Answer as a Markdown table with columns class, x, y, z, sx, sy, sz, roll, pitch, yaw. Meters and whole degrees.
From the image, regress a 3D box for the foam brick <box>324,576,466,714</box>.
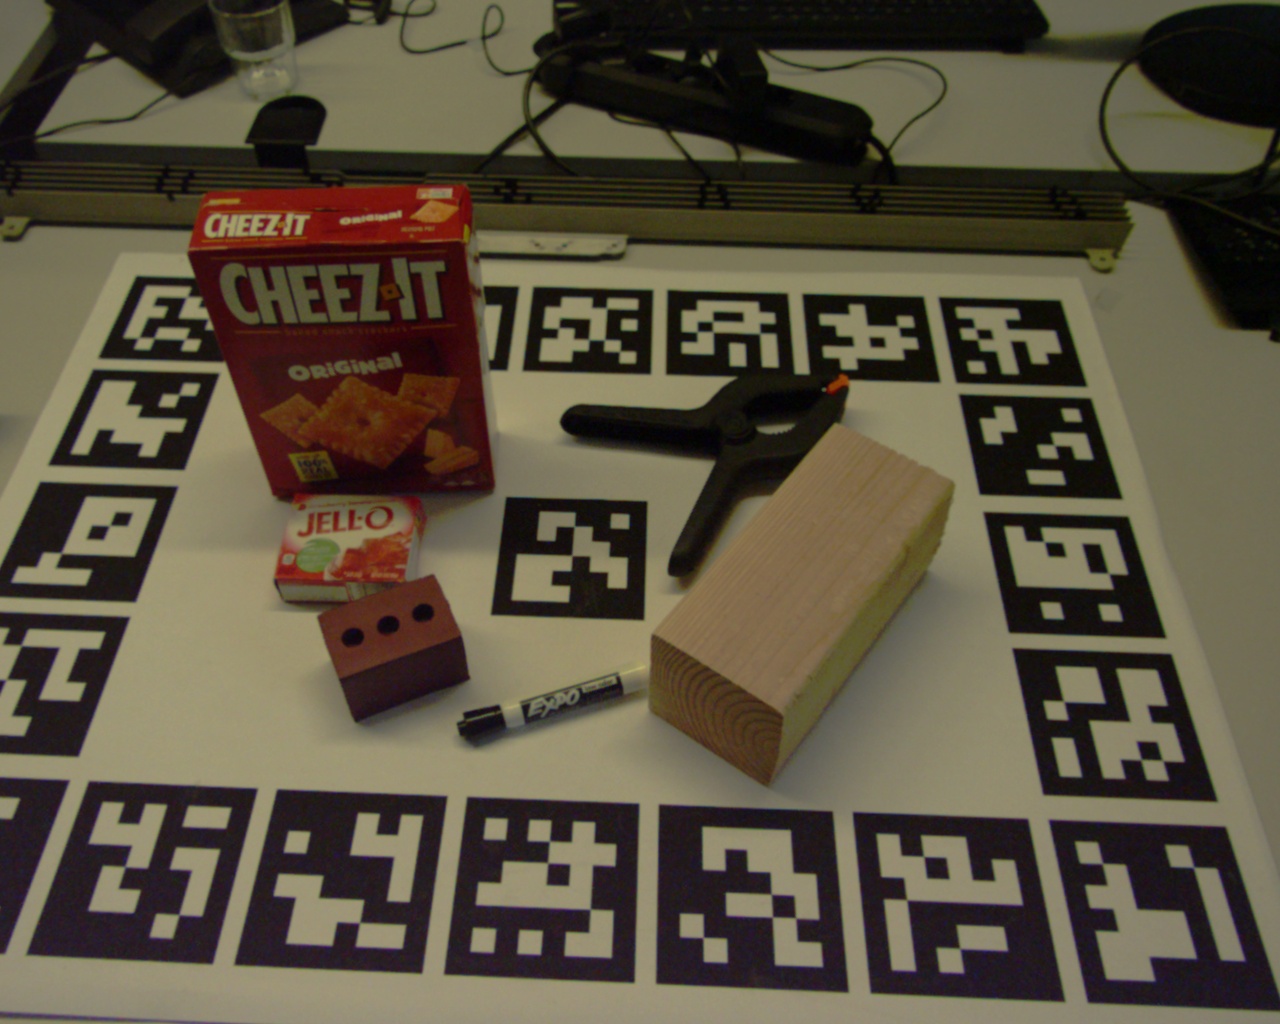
| class | x | y | z | sx | sy | sz | roll | pitch | yaw |
| --- | --- | --- | --- | --- | --- | --- | --- | --- | --- |
| foam brick | -0.159 | 0.086 | 0.739 | 0.077 | 0.051 | 0.053 | -19 | 57 | -13 |

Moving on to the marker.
| class | x | y | z | sx | sy | sz | roll | pitch | yaw |
| --- | --- | --- | --- | --- | --- | --- | --- | --- | --- |
| marker | -0.070 | 0.121 | 0.729 | 0.120 | 0.019 | 0.020 | -15 | 56 | -10 |

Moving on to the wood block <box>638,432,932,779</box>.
| class | x | y | z | sx | sy | sz | roll | pitch | yaw |
| --- | --- | --- | --- | --- | --- | --- | --- | --- | --- |
| wood block | 0.094 | 0.055 | 0.740 | 0.091 | 0.090 | 0.205 | 29 | 56 | 23 |

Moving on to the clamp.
| class | x | y | z | sx | sy | sz | roll | pitch | yaw |
| --- | --- | --- | --- | --- | --- | --- | --- | --- | --- |
| clamp | 0.060 | -0.052 | 0.850 | 0.201 | 0.036 | 0.167 | -24 | 57 | -16 |

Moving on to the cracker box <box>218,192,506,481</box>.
| class | x | y | z | sx | sy | sz | roll | pitch | yaw |
| --- | --- | --- | --- | --- | --- | --- | --- | --- | --- |
| cracker box | -0.179 | -0.112 | 0.783 | 0.164 | 0.213 | 0.072 | 0 | 52 | -2 |

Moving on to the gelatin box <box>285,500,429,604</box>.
| class | x | y | z | sx | sy | sz | roll | pitch | yaw |
| --- | --- | --- | --- | --- | --- | --- | --- | --- | --- |
| gelatin box | -0.197 | 0.027 | 0.801 | 0.089 | 0.030 | 0.073 | 0 | 54 | 1 |
